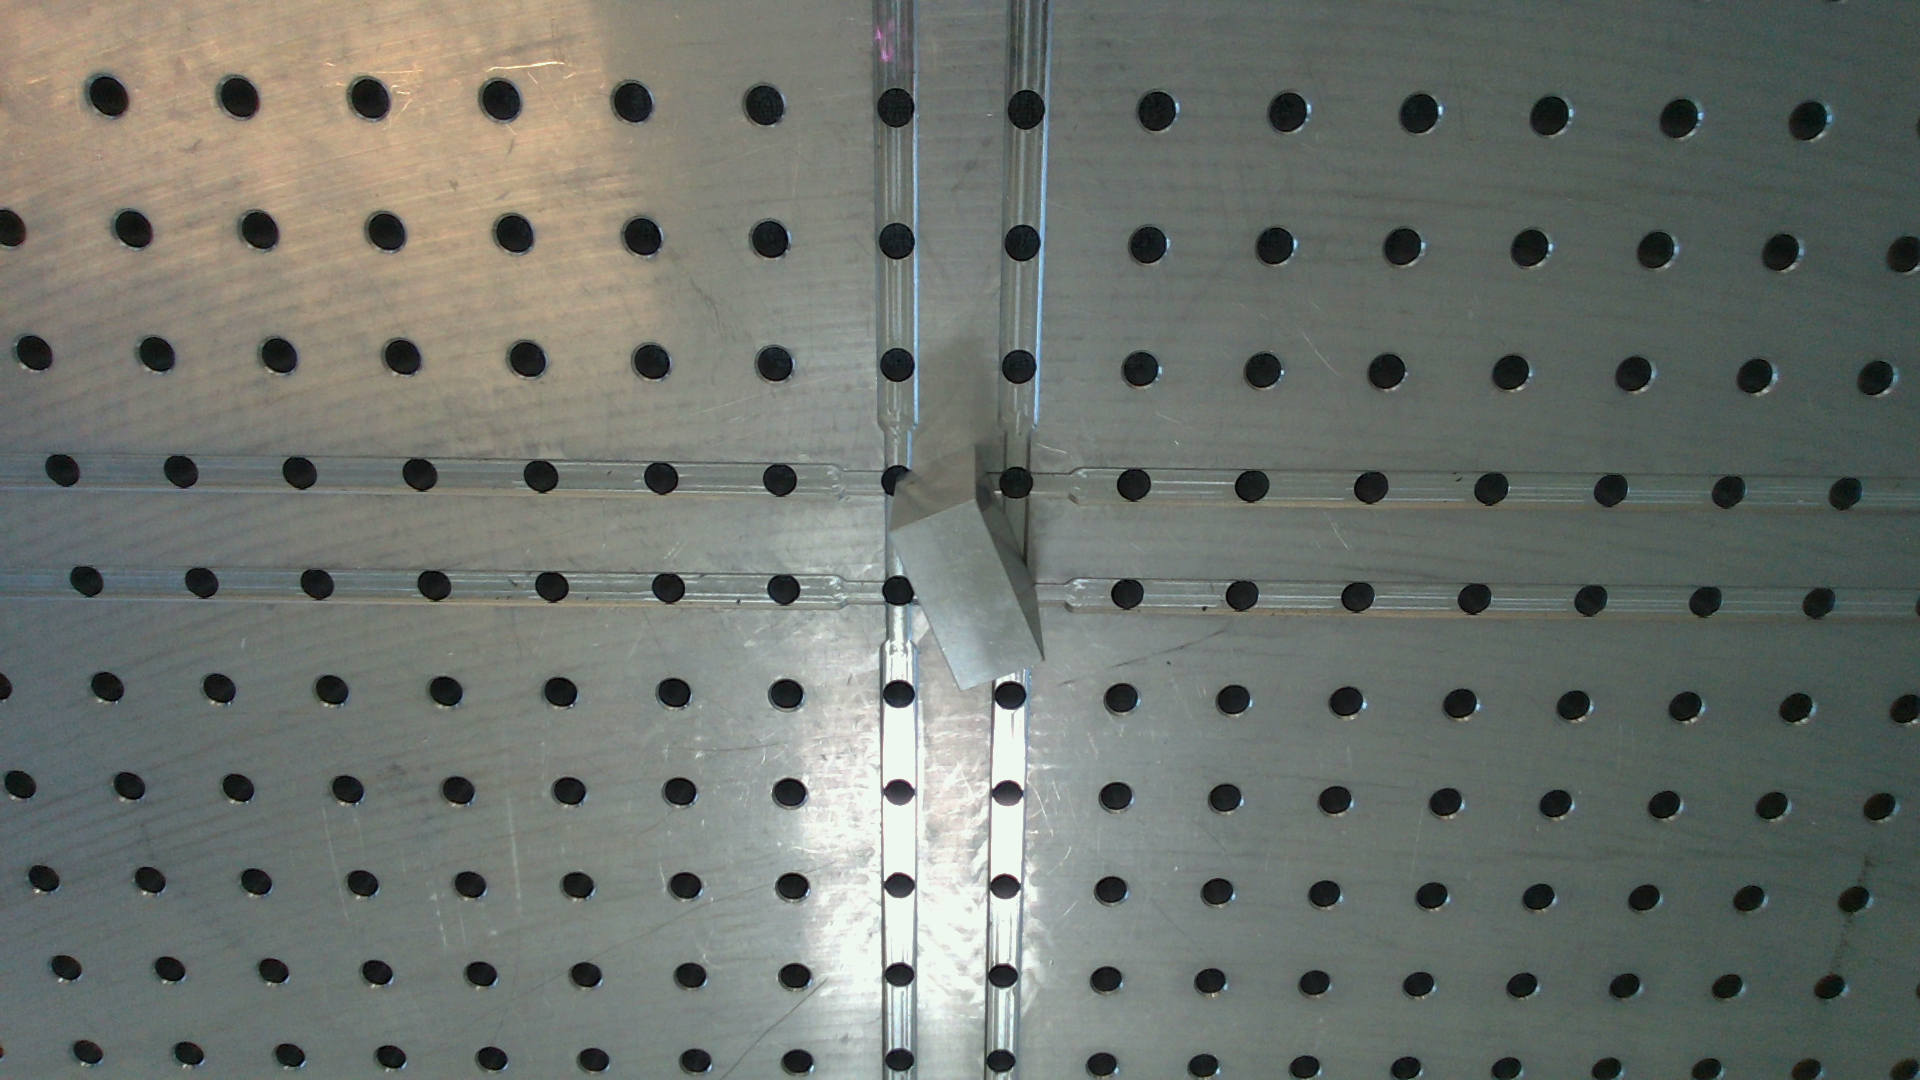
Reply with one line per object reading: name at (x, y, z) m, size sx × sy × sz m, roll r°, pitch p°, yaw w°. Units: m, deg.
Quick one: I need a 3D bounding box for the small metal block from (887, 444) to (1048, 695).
small metal block at (0.002, 0.007, 0.385) m, size 0.025 × 0.050 × 0.050 m, roll -21°, pitch 109°, yaw 8°
